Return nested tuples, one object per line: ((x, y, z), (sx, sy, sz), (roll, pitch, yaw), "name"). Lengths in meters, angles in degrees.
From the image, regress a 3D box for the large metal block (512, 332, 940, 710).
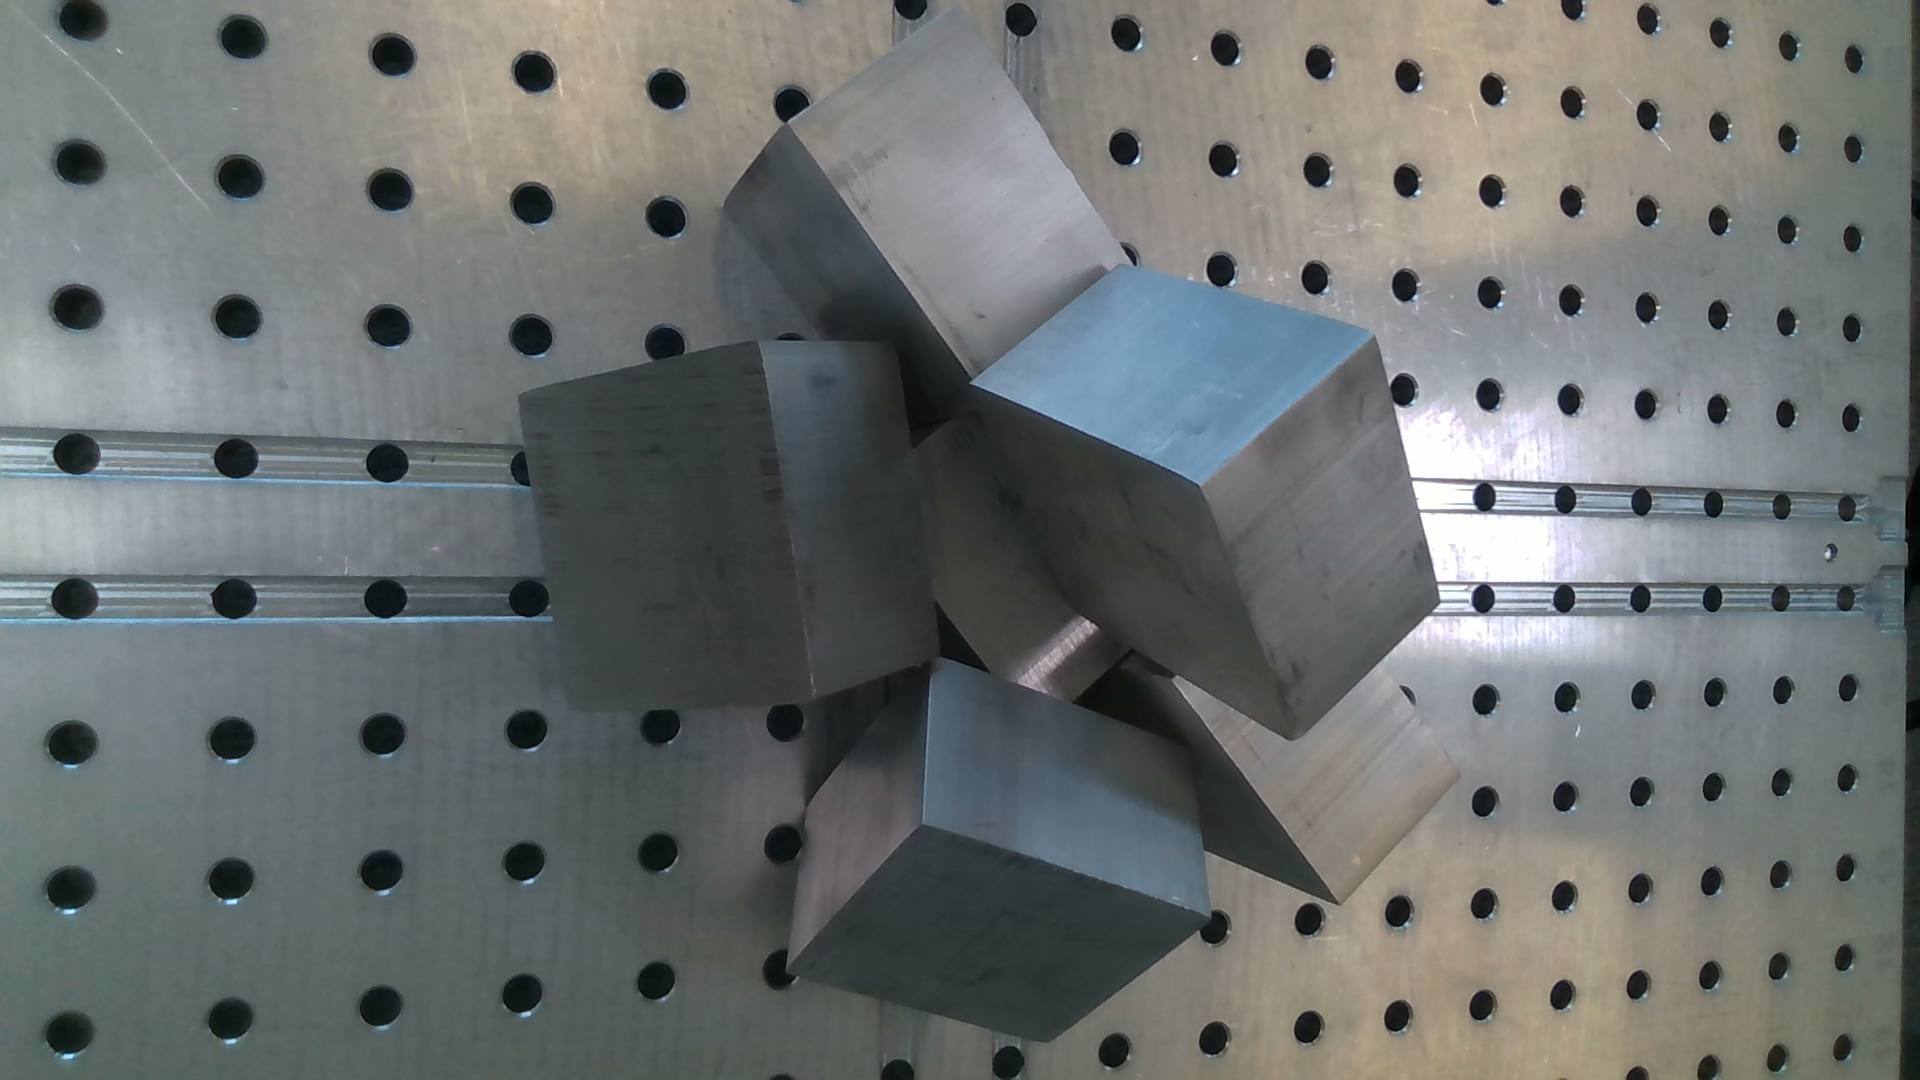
((-0.057, -0.004, 0.339), (0.050, 0.080, 0.080), (-13, 95, -56), "large metal block")

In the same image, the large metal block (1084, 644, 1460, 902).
((0.080, 0.048, 0.397), (0.050, 0.080, 0.080), (-41, 103, -15), "large metal block")

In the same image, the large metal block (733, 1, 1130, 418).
((-0.009, -0.080, 0.362), (0.050, 0.080, 0.080), (-40, 103, -16), "large metal block")

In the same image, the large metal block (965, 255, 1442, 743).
((0.057, -0.012, 0.321), (0.050, 0.080, 0.080), (-40, 128, -16), "large metal block")

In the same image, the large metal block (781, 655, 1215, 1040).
((0.008, 0.083, 0.363), (0.080, 0.080, 0.050), (21, 42, -19), "large metal block")

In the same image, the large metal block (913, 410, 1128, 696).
((0.017, -0.005, 0.391), (0.080, 0.050, 0.080), (-41, 103, -15), "large metal block")
